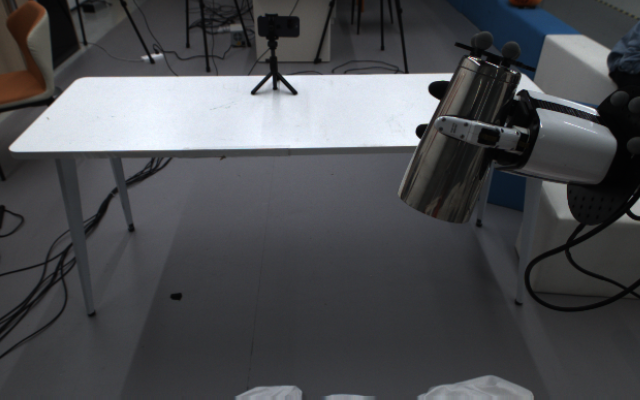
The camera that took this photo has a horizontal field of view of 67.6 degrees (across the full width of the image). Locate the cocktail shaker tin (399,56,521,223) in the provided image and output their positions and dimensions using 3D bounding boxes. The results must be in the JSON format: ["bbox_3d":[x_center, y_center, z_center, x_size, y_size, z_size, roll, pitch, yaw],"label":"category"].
[{"bbox_3d":[0.162,-0.071,0.552,0.093,0.170,0.093,16,21,-6],"label":"cocktail shaker tin"}]
